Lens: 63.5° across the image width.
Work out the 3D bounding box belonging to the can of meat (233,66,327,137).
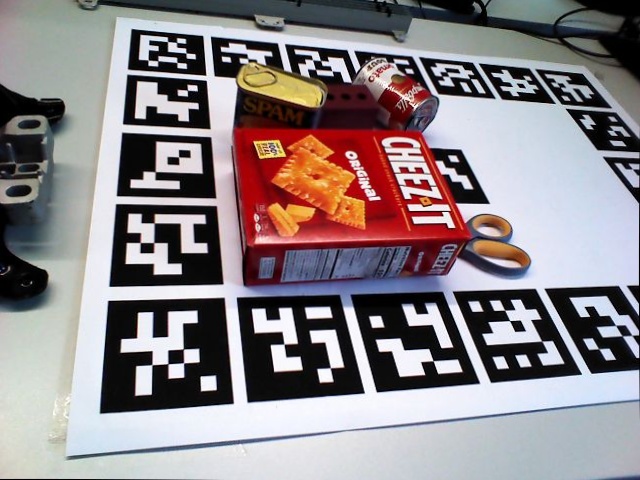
[{"bbox_3d":[-0.050,-0.143,0.600,0.102,0.084,0.057,11,51,-7],"label":"can of meat"}]

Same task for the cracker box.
[{"bbox_3d":[0.025,-0.036,0.527,0.213,0.072,0.163,-7,54,-15],"label":"cracker box"}]

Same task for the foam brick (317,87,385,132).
[{"bbox_3d":[0.033,-0.157,0.658,0.078,0.051,0.052,-9,56,-21],"label":"foam brick"}]

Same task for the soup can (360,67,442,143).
[{"bbox_3d":[0.108,-0.179,0.694,0.102,0.068,0.067,38,53,22],"label":"soup can"}]

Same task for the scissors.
[{"bbox_3d":[0.136,0.011,0.560,0.202,0.016,0.087,-4,54,-18],"label":"scissors"}]
